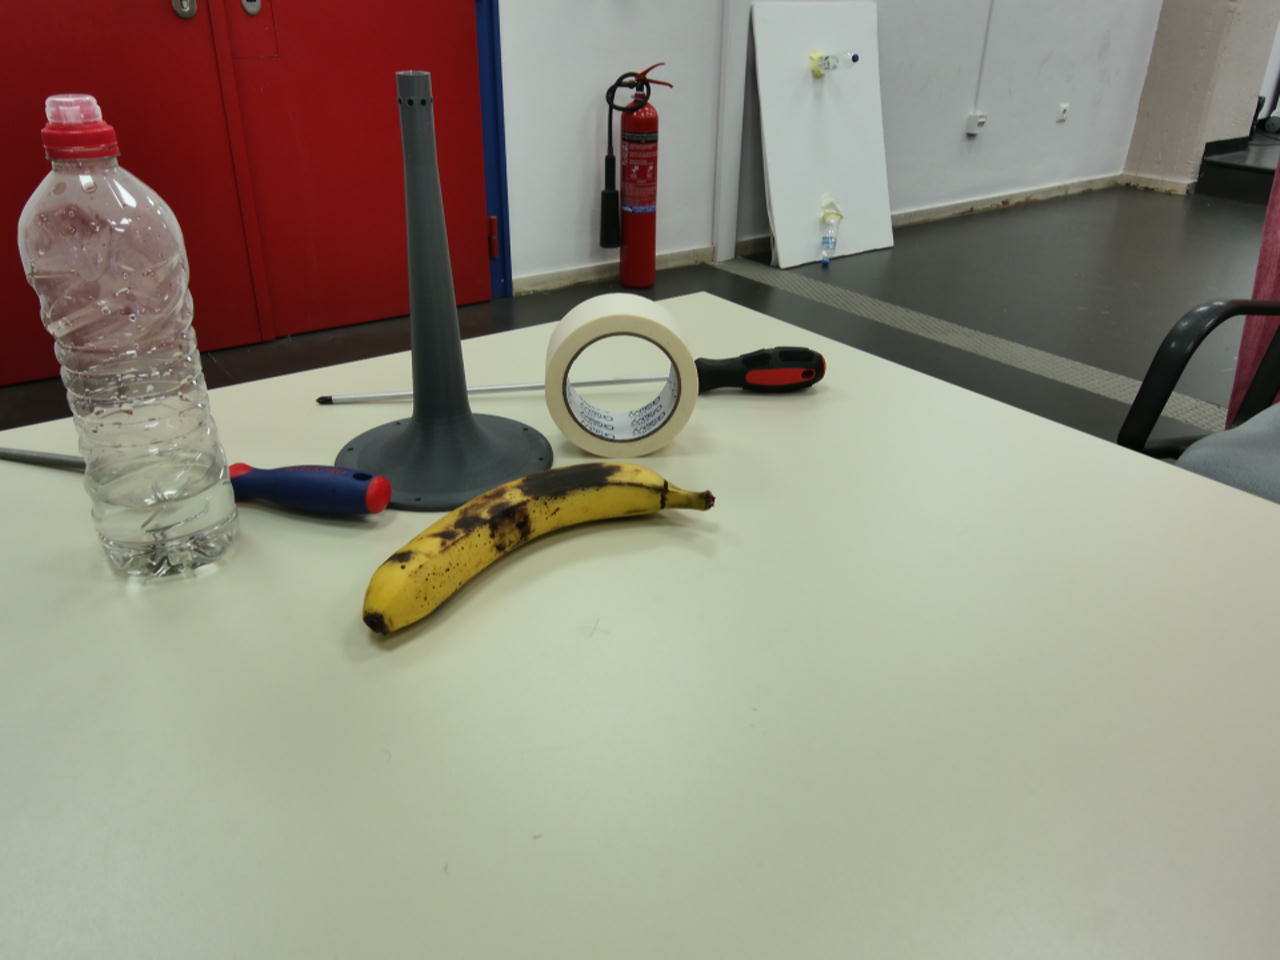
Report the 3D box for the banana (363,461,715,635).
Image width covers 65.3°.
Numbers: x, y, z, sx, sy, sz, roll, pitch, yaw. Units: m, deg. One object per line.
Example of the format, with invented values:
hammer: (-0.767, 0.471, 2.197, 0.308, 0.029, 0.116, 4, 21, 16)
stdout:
banana: (-0.065, 0.027, 0.573, 0.222, 0.037, 0.084, -17, 31, -33)
